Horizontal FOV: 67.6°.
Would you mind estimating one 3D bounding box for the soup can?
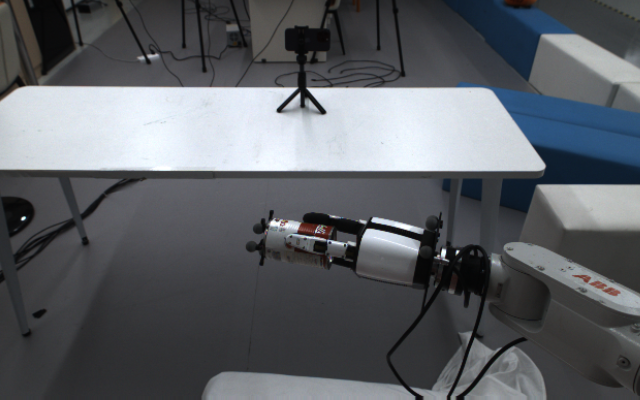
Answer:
[{"bbox_3d":[-0.028,0.067,0.751,0.101,0.067,0.067,7,35,11],"label":"soup can"}]
